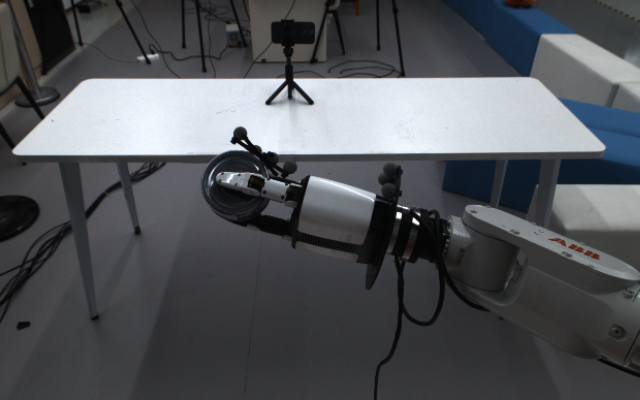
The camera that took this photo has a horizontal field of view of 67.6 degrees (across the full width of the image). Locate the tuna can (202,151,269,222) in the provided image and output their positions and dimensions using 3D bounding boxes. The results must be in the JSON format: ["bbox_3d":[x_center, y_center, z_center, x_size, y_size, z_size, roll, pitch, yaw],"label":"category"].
[{"bbox_3d":[-0.099,-0.012,0.602,0.085,0.034,0.085,0,73,-1],"label":"tuna can"}]
